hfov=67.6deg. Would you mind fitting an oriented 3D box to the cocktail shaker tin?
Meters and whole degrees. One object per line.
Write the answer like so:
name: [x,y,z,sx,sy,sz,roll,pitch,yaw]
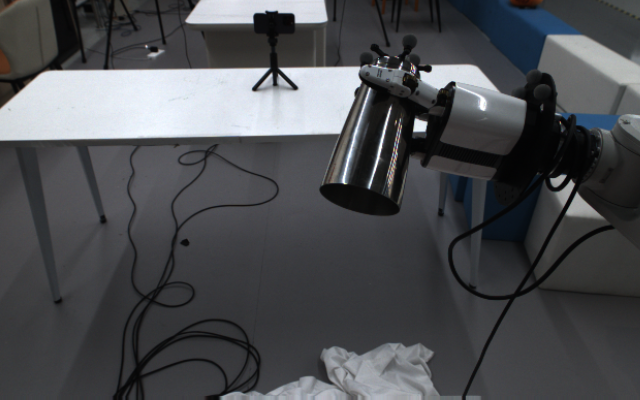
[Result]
cocktail shaker tin: [0.068,-0.079,0.564,0.093,0.093,0.170,12,72,14]
